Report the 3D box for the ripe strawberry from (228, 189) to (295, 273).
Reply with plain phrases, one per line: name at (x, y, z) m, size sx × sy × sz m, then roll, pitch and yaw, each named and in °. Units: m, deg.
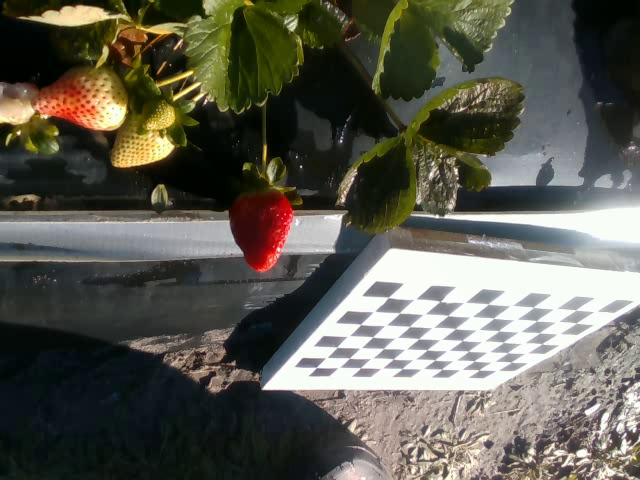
ripe strawberry at (-0.030, -0.003, 0.302) m, size 0.036 × 0.045 × 0.038 m, roll 8°, pitch -21°, yaw -20°
